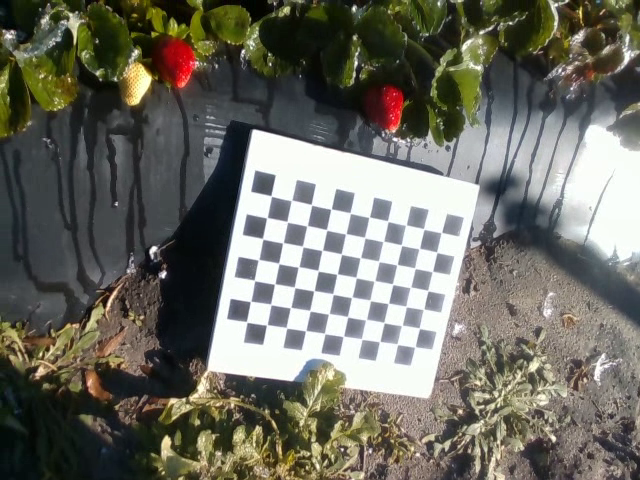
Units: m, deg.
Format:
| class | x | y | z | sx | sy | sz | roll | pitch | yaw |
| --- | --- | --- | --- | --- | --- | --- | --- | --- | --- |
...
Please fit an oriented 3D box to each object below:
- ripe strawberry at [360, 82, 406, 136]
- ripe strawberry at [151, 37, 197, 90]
| class | x | y | z | sx | sy | sz | roll | pitch | yaw |
| --- | --- | --- | --- | --- | --- | --- | --- | --- | --- |
| ripe strawberry | 0.078 | -0.145 | 0.691 | 0.048 | 0.061 | 0.044 | 2 | -25 | -19 |
| ripe strawberry | -0.139 | -0.167 | 0.622 | 0.042 | 0.061 | 0.046 | -6 | -32 | -17 |
